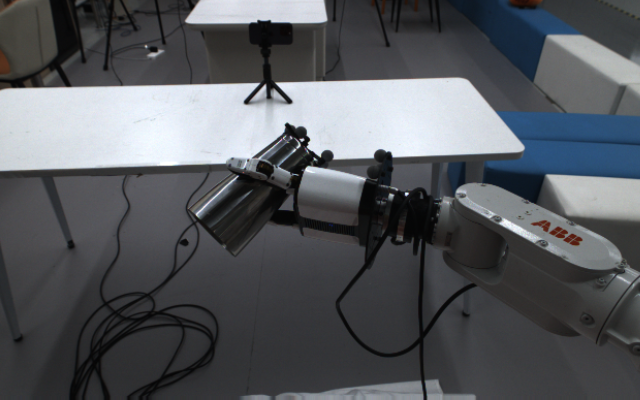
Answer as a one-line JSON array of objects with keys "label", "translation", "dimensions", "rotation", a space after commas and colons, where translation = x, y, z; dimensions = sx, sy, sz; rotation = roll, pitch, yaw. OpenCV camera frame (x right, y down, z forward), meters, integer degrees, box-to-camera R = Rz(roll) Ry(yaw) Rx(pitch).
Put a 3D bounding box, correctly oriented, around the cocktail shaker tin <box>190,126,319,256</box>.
[{"label": "cocktail shaker tin", "translation": [-0.089, -0.018, 0.675], "dimensions": [0.170, 0.093, 0.093], "rotation": [-43, 50, -14]}]
